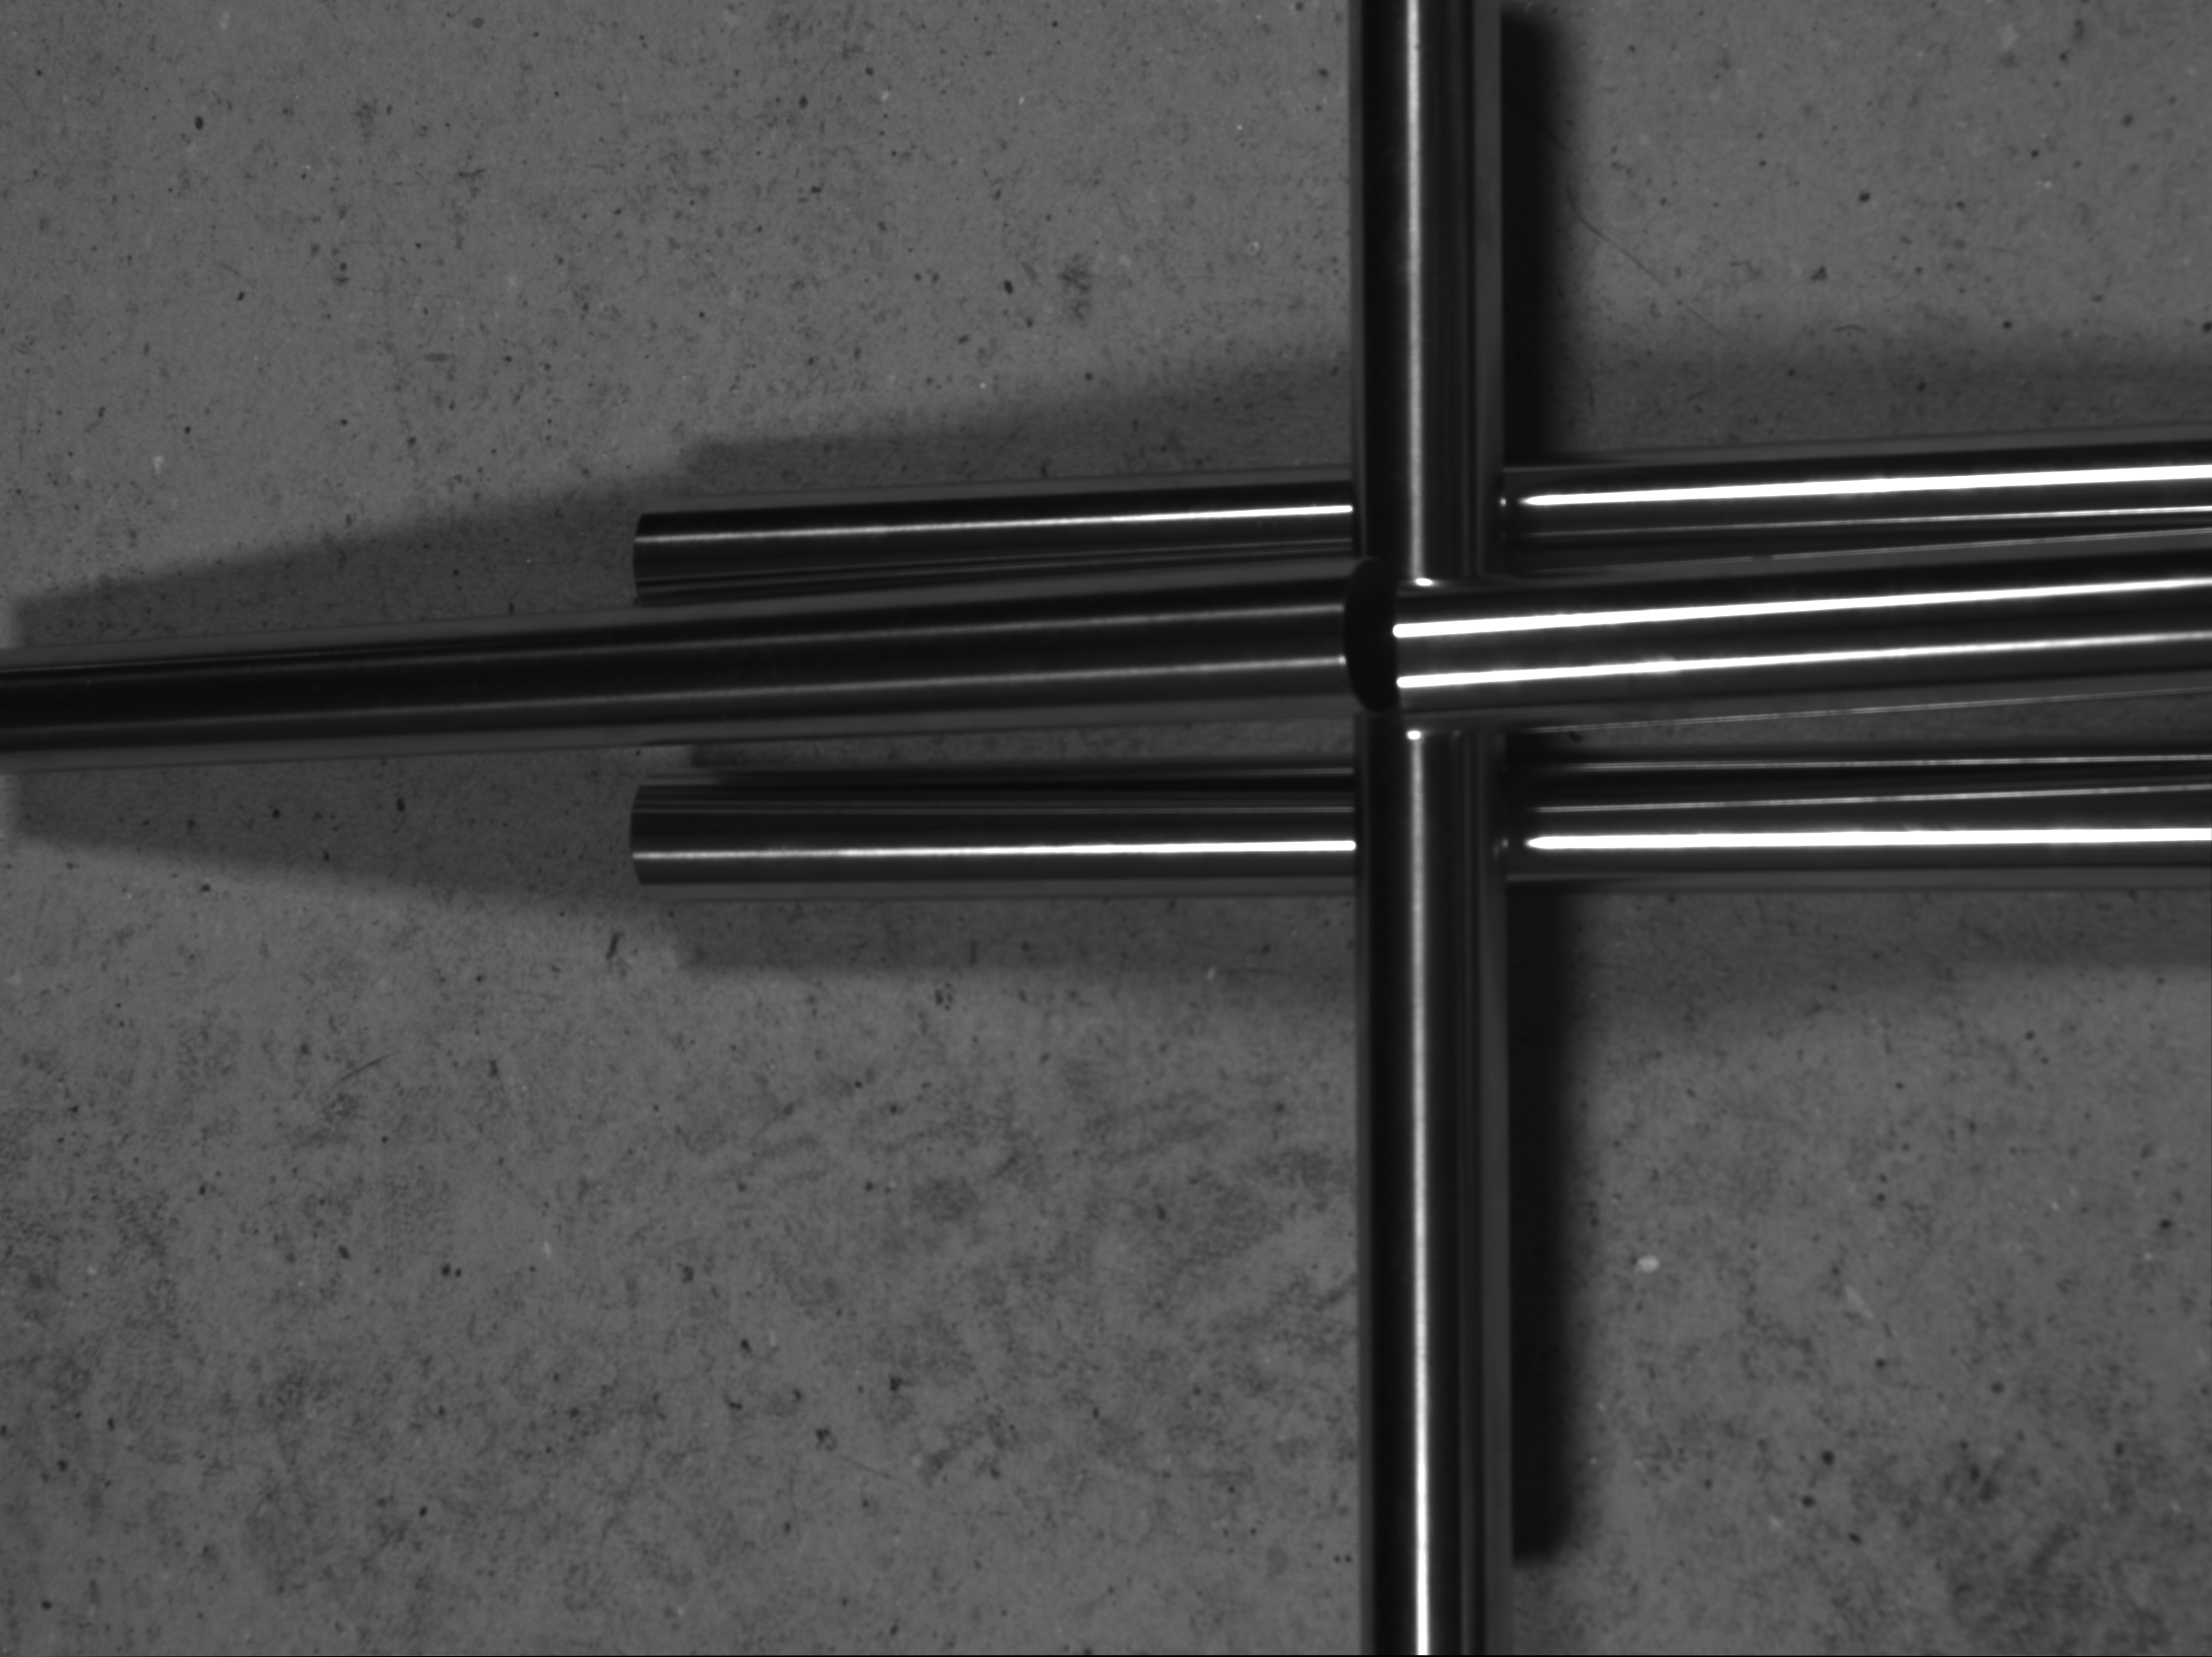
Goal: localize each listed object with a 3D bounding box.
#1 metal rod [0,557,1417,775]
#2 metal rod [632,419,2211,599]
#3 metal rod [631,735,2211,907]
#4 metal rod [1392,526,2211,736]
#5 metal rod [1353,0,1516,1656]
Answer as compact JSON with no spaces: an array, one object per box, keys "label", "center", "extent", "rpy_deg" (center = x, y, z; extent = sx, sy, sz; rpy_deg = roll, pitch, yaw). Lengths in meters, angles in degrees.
[{"label":"metal rod","center":[-0.087,-0.027,0.649],"extent":[0.299,0.025,0.025],"rpy_deg":[-2,89,29]},{"label":"metal rod","center":[0.060,-0.051,0.623],"extent":[0.299,0.025,0.025],"rpy_deg":[-1,90,20]},{"label":"metal rod","center":[0.060,0.000,0.623],"extent":[0.299,0.025,0.025],"rpy_deg":[-1,90,20]},{"label":"metal rod","center":[0.194,-0.035,0.549],"extent":[0.300,0.025,0.025],"rpy_deg":[-3,89,10]},{"label":"metal rod","center":[0.054,-0.009,0.599],"extent":[0.025,0.025,0.300],"rpy_deg":[0,90,20]}]
